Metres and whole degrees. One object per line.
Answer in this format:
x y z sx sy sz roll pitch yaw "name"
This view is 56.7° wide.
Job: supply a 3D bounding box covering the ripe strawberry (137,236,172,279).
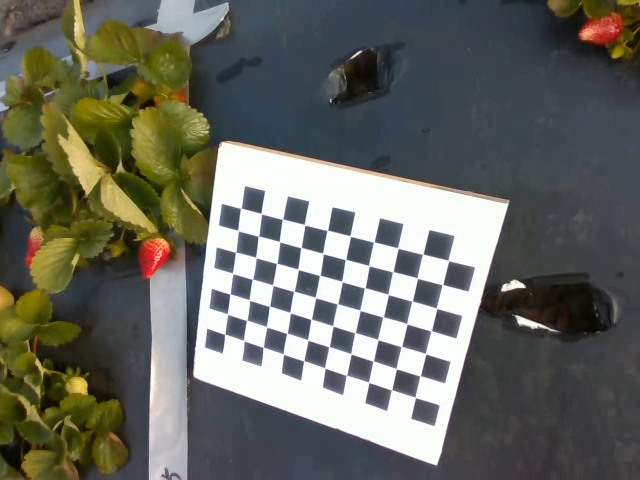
-0.175 0.020 0.620 0.050 0.055 0.035 7 -5 13 "ripe strawberry"
